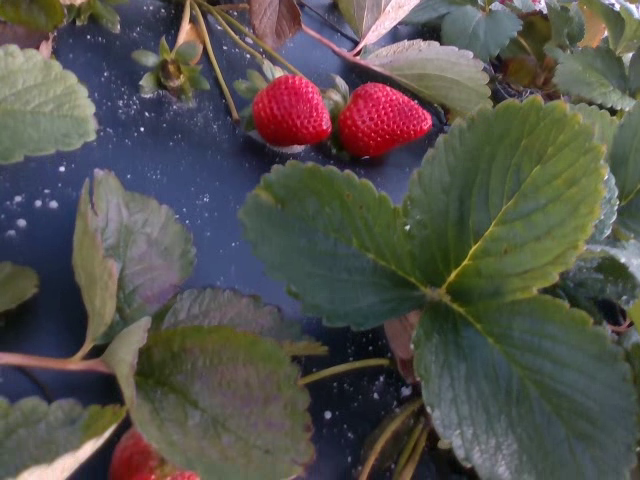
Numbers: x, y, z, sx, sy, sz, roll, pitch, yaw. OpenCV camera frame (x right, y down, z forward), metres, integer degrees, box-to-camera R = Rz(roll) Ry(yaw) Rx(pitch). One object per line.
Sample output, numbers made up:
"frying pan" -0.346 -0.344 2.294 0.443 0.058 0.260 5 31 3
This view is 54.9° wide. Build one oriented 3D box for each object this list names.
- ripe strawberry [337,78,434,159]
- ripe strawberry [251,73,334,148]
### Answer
"ripe strawberry" 0.043 -0.079 0.389 0.064 0.051 0.058 16 45 19
"ripe strawberry" -0.012 -0.074 0.360 0.048 0.041 0.056 -12 45 -36
